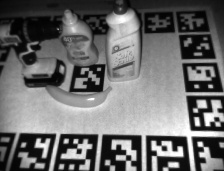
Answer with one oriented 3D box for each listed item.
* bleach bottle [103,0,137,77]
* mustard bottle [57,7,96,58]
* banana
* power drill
[{"bbox_3d":[0.015,-0.113,0.566,0.102,0.252,0.067,-8,63,3],"label":"bleach bottle"},{"bbox_3d":[-0.107,-0.155,0.623,0.096,0.193,0.058,1,62,6],"label":"mustard bottle"},{"bbox_3d":[-0.104,0.006,0.623,0.196,0.039,0.074,2,67,9],"label":"banana"},{"bbox_3d":[-0.214,-0.111,0.589,0.184,0.188,0.057,-2,55,2],"label":"power drill"}]
